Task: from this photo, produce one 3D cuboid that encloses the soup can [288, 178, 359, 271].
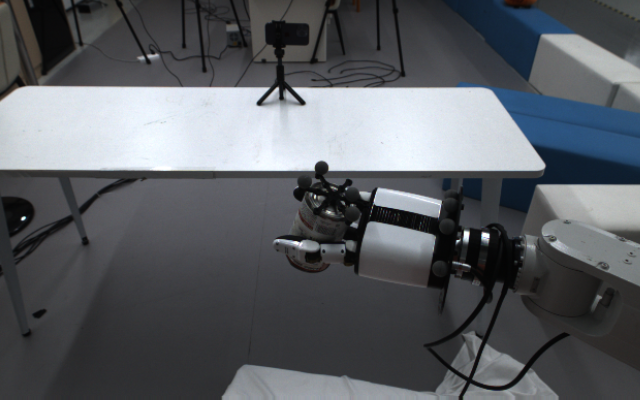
[{"bbox_3d":[0.000,0.036,0.618,0.067,0.101,0.067,14,40,-12],"label":"soup can"}]
